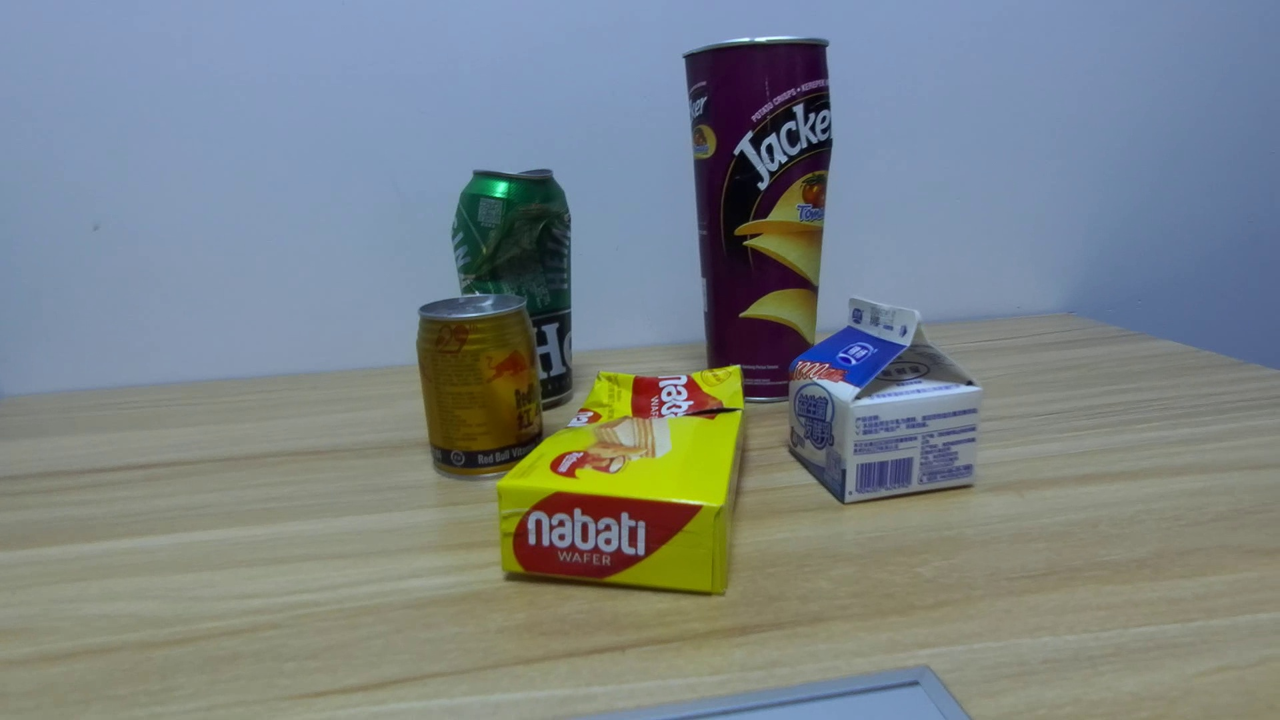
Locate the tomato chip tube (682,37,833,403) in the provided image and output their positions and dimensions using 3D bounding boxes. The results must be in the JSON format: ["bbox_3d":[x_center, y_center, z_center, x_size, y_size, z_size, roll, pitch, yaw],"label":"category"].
[{"bbox_3d":[0.083,-0.092,0.492,0.076,0.235,0.077,-10,16,-24],"label":"tomato chip tube"}]

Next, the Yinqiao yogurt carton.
[{"bbox_3d":[0.124,0.014,0.368,0.074,0.092,0.075,-6,15,-10],"label":"Yinqiao yogurt carton"}]

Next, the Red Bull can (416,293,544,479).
[{"bbox_3d":[-0.091,0.013,0.407,0.067,0.093,0.067,-2,17,1],"label":"Red Bull can"}]

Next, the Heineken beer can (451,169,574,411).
[{"bbox_3d":[-0.087,-0.047,0.493,0.078,0.164,0.066,0,16,-3],"label":"Heineken beer can"}]

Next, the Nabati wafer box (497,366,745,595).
[{"bbox_3d":[0.002,0.047,0.387,0.107,0.042,0.204,2,17,11],"label":"Nabati wafer box"}]
